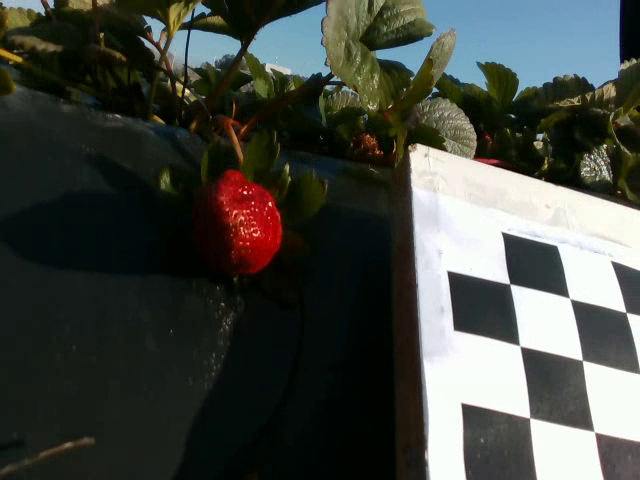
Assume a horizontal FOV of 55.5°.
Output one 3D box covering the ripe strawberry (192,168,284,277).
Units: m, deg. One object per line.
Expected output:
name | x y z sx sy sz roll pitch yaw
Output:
ripe strawberry | -0.010 -0.003 0.074 0.016 0.015 0.023 21 -2 -8
